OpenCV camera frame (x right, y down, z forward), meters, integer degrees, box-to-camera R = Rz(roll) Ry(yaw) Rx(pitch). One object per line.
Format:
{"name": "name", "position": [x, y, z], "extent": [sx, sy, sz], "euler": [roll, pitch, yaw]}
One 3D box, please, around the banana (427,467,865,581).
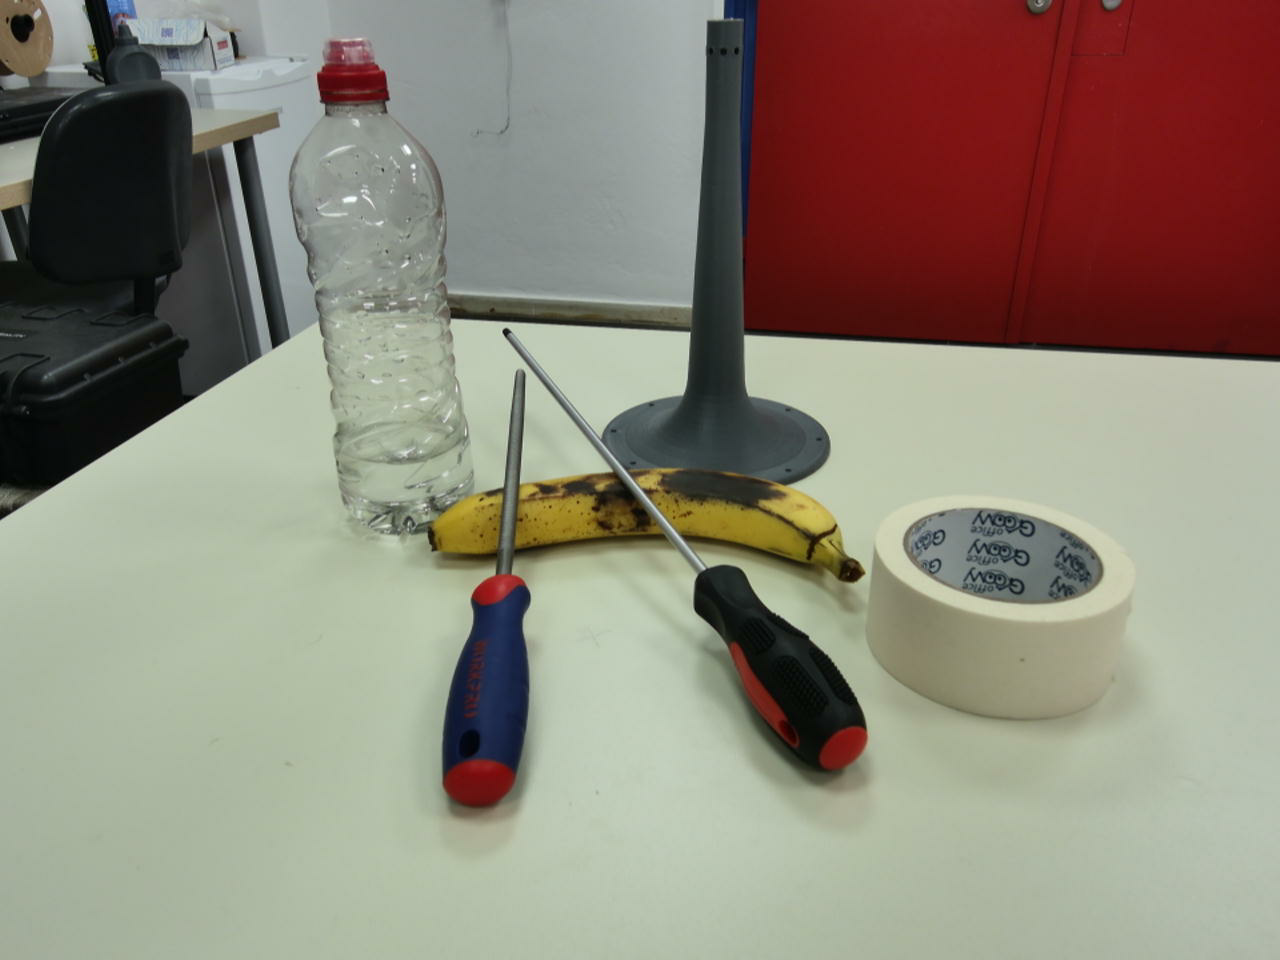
{"name": "banana", "position": [0.005, 0.020, 0.529], "extent": [0.222, 0.037, 0.084], "euler": [5, 26, 11]}
